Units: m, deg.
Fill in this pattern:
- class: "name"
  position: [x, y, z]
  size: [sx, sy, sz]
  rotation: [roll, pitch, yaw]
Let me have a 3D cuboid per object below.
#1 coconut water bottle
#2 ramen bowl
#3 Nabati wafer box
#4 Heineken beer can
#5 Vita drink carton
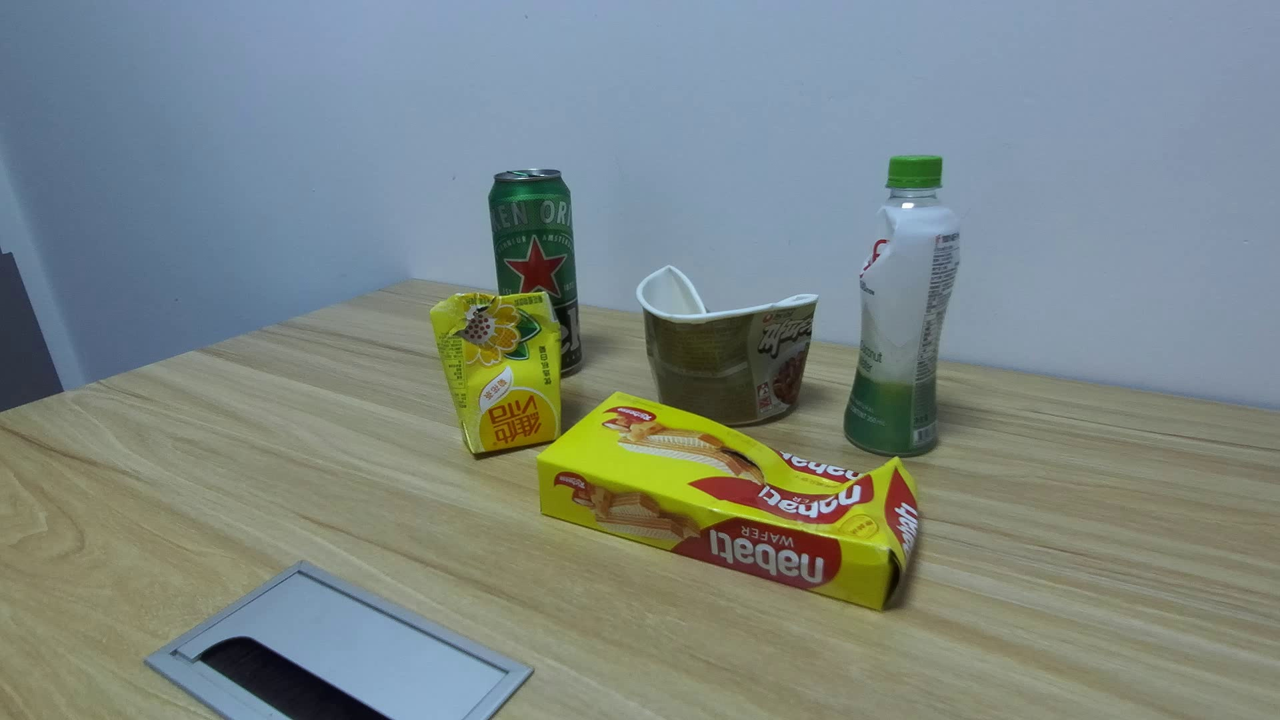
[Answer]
- class: "coconut water bottle"
  position: [0.169, -0.034, 0.456]
  size: [0.069, 0.186, 0.069]
  rotation: [-1, 20, 1]
- class: "ramen bowl"
  position: [0.059, -0.012, 0.537]
  size: [0.137, 0.098, 0.137]
  rotation: [-3, 20, 1]
- class: "Nabati wafer box"
  position: [0.053, 0.071, 0.406]
  size: [0.203, 0.042, 0.107]
  rotation: [11, 26, 26]
- class: "Heineken beer can"
  position: [-0.087, -0.071, 0.600]
  size: [0.067, 0.169, 0.067]
  rotation: [-2, 21, 1]
- class: "Vita drink carton"
  position: [-0.098, 0.005, 0.499]
  size: [0.087, 0.108, 0.042]
  rotation: [-7, 9, -20]
